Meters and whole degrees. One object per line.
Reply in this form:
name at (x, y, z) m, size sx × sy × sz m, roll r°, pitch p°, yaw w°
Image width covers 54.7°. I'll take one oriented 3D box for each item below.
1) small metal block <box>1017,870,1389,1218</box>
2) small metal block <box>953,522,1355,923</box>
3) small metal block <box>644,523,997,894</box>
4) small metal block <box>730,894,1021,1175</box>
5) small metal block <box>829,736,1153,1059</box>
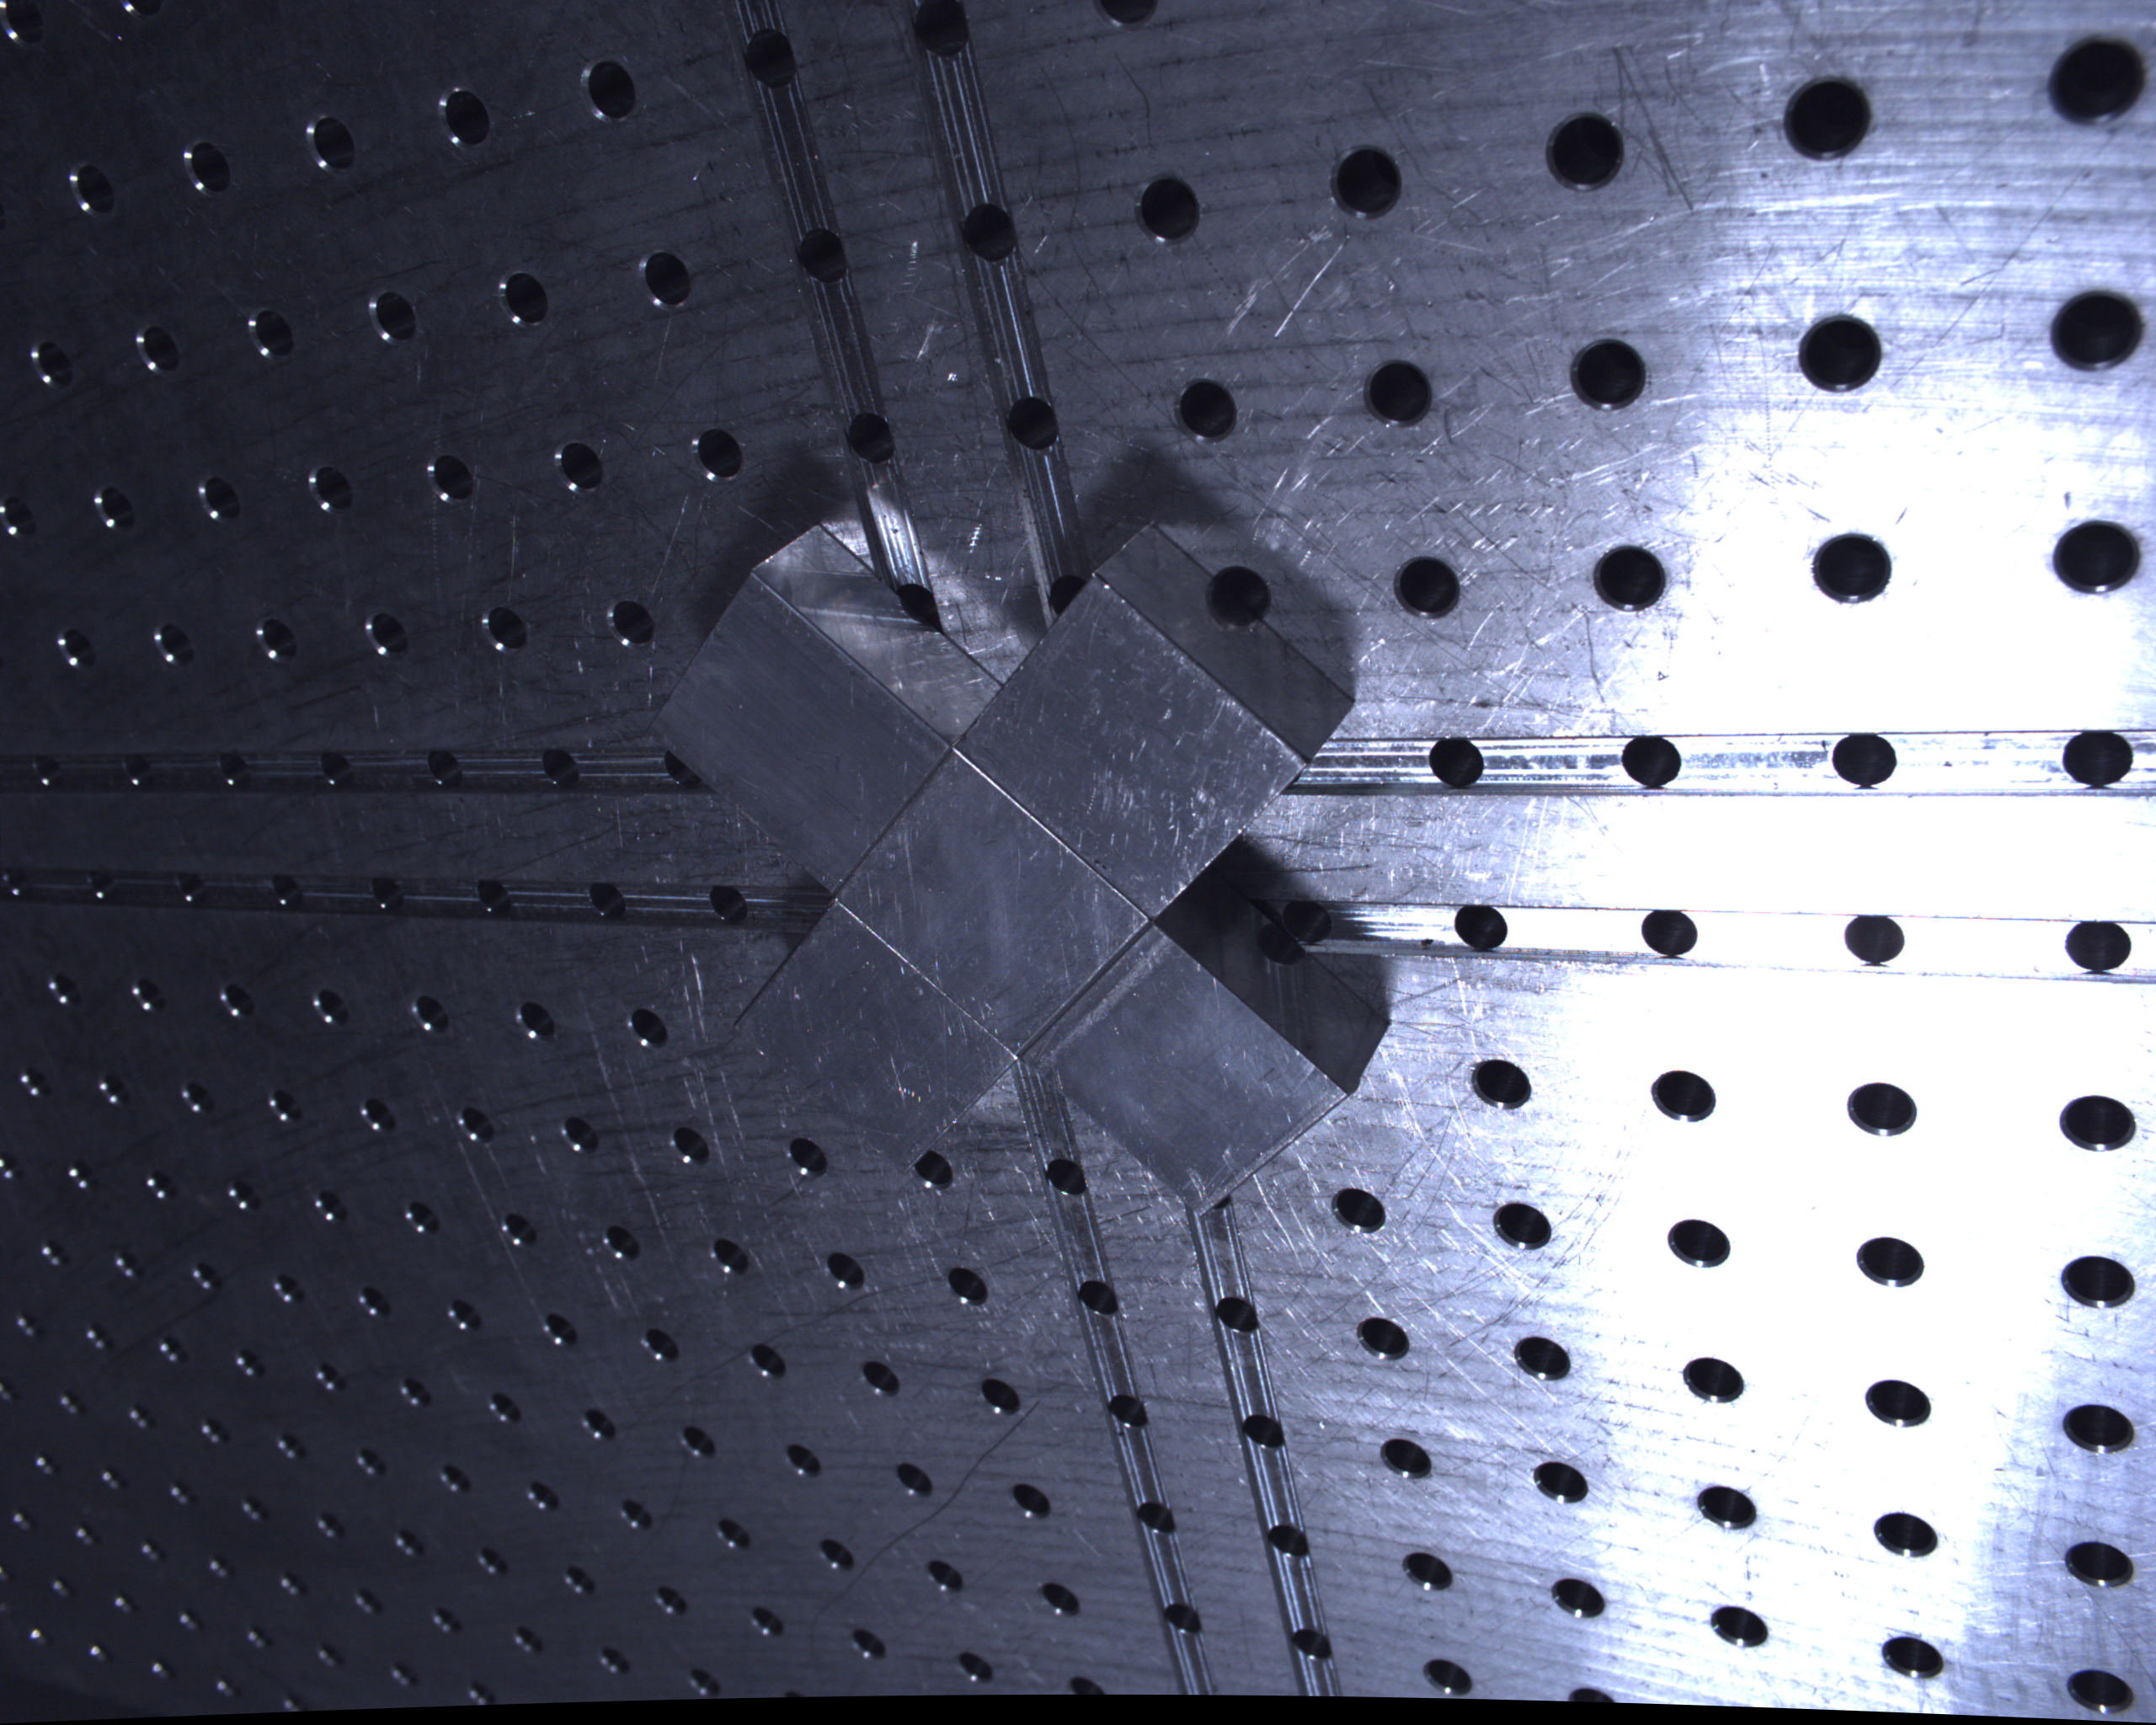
small metal block at (0.025, 0.036, 0.419) m, size 0.050 × 0.025 × 0.050 m, roll 42°, pitch 129°, yaw -1°
small metal block at (0.014, -0.025, 0.387) m, size 0.050 × 0.025 × 0.050 m, roll 41°, pitch 129°, yaw -1°
small metal block at (-0.051, -0.030, 0.418) m, size 0.050 × 0.025 × 0.050 m, roll 42°, pitch 129°, yaw -1°
small metal block at (-0.039, 0.032, 0.450) m, size 0.050 × 0.025 × 0.050 m, roll 41°, pitch 129°, yaw -1°
small metal block at (-0.013, 0.003, 0.417) m, size 0.050 × 0.025 × 0.050 m, roll 41°, pitch 129°, yaw -1°
